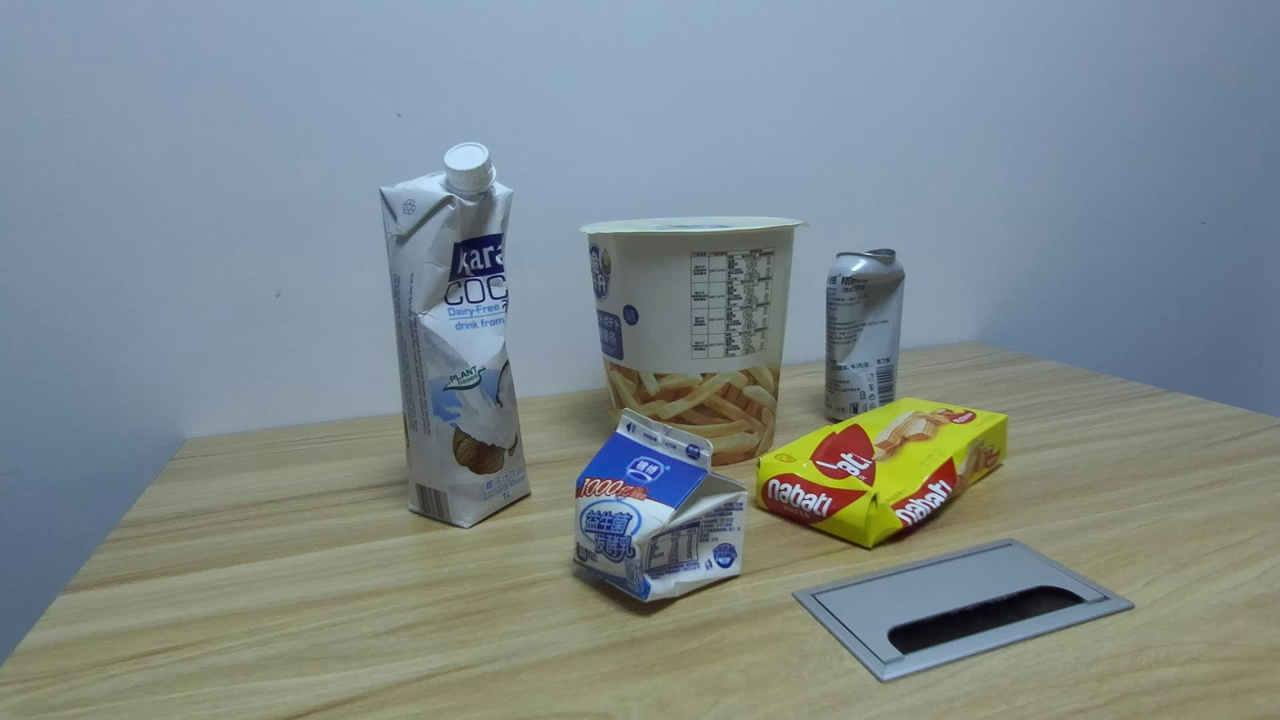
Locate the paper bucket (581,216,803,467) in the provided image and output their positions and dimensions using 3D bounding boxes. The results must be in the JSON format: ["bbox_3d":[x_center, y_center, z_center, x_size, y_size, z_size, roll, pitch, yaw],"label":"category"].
[{"bbox_3d":[0.045,-0.022,0.625,0.198,0.194,0.198,-2,14,1],"label":"paper bucket"}]

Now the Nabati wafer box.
[{"bbox_3d":[0.188,0.078,0.528,0.205,0.042,0.106,-14,17,-38],"label":"Nabati wafer box"}]

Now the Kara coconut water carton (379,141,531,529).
[{"bbox_3d":[-0.129,-0.016,0.497,0.083,0.255,0.078,-14,20,-42],"label":"Kara coconut water carton"}]

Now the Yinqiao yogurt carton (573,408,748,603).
[{"bbox_3d":[0.010,0.081,0.408,0.074,0.097,0.081,13,14,43],"label":"Yinqiao yogurt carton"}]
